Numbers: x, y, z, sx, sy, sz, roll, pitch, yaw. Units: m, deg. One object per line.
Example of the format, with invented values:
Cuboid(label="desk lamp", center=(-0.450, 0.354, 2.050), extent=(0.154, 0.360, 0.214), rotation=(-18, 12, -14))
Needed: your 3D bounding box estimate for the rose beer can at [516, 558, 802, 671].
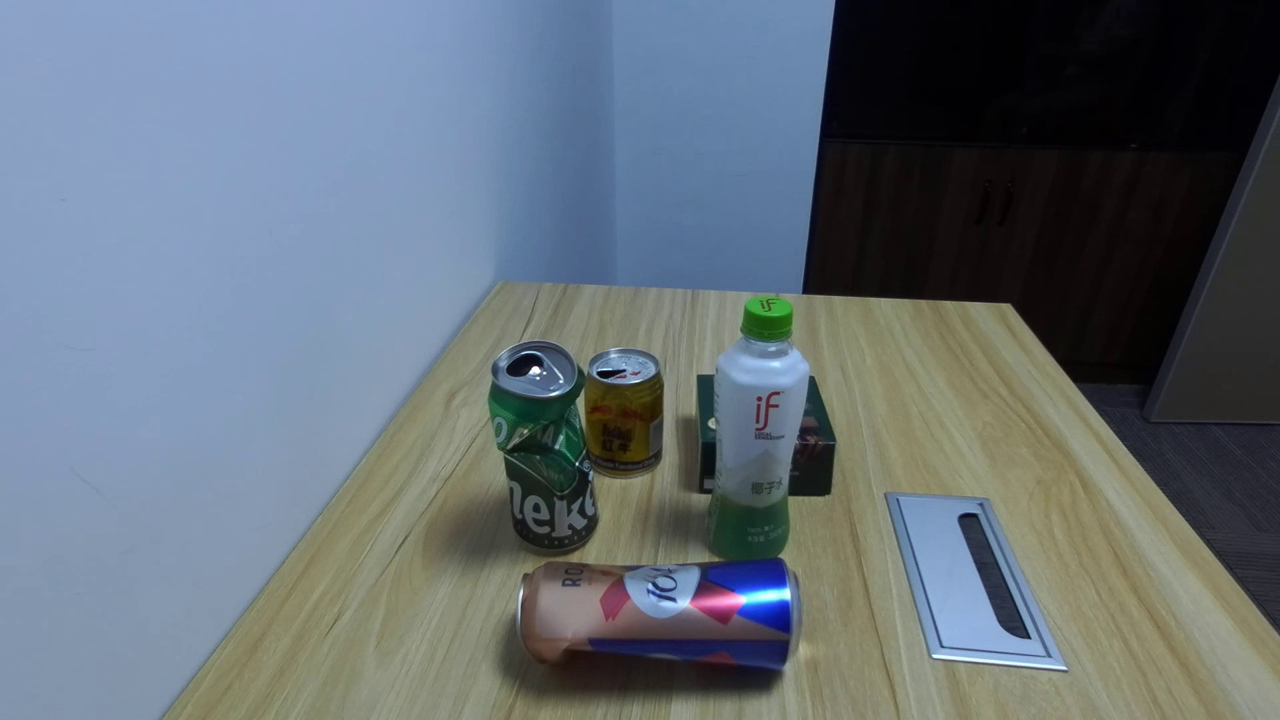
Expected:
Cuboid(label="rose beer can", center=(0.012, 0.150, 0.428), extent=(0.168, 0.069, 0.070), rotation=(0, 48, 3))

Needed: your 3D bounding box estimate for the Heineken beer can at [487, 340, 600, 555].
Cuboid(label="Heineken beer can", center=(-0.067, 0.063, 0.501), extent=(0.067, 0.159, 0.078), rotation=(-13, 37, -15))

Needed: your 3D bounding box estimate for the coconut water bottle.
Cuboid(label="coconut water bottle", center=(0.081, 0.049, 0.483), extent=(0.063, 0.189, 0.063), rotation=(1, 27, 0))

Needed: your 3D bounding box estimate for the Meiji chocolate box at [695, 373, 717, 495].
Cuboid(label="Meiji chocolate box", center=(0.103, 0.061, 0.604), extent=(0.109, 0.056, 0.110), rotation=(0, 29, 2))

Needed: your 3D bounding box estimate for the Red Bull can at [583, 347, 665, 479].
Cuboid(label="Red Bull can", center=(-0.013, 0.043, 0.593), extent=(0.069, 0.092, 0.069), rotation=(1, 30, 0))
